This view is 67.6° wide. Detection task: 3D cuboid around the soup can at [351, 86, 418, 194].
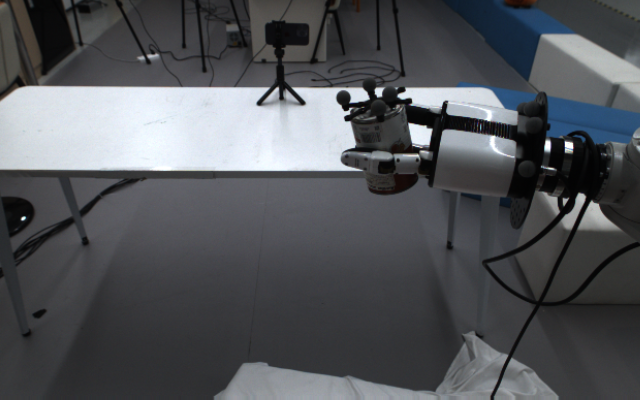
[{"bbox_3d":[0.081,-0.067,0.594,0.067,0.101,0.067,-13,31,8],"label":"soup can"}]
